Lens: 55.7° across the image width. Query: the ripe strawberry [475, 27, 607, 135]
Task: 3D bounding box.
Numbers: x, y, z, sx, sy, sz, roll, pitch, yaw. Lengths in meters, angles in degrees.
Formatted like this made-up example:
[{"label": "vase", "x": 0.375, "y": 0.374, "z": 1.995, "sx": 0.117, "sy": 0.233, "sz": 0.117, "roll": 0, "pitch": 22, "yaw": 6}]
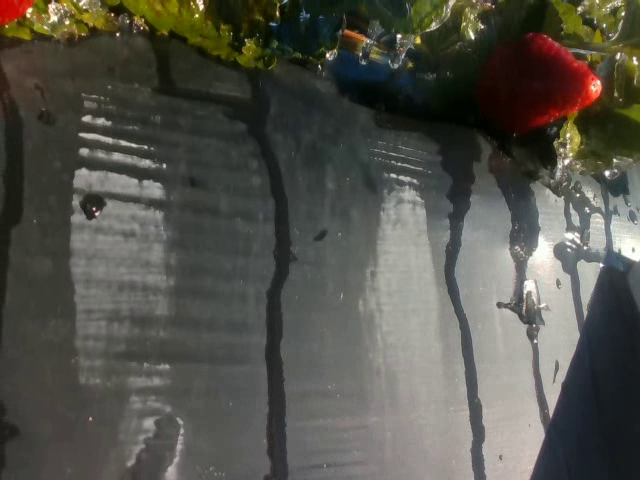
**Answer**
[{"label": "ripe strawberry", "x": 0.087, "y": -0.058, "z": 0.226, "sx": 0.041, "sy": 0.047, "sz": 0.053, "roll": 7, "pitch": 13, "yaw": -17}]
